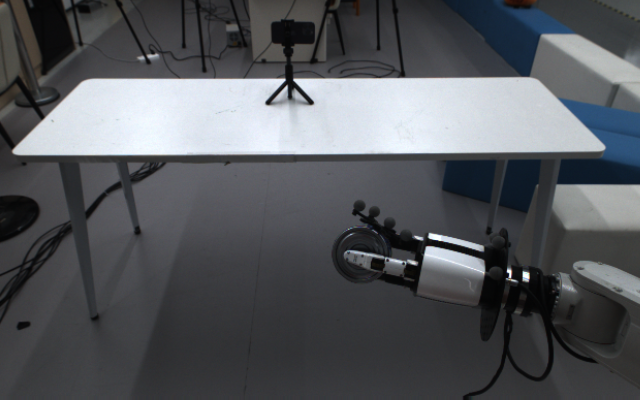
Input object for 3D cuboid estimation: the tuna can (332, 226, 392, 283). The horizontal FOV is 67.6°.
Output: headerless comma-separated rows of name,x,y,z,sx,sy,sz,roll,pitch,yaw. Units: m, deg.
tuna can,0.065,0.085,0.709,0.085,0.085,0.034,13,4,15
